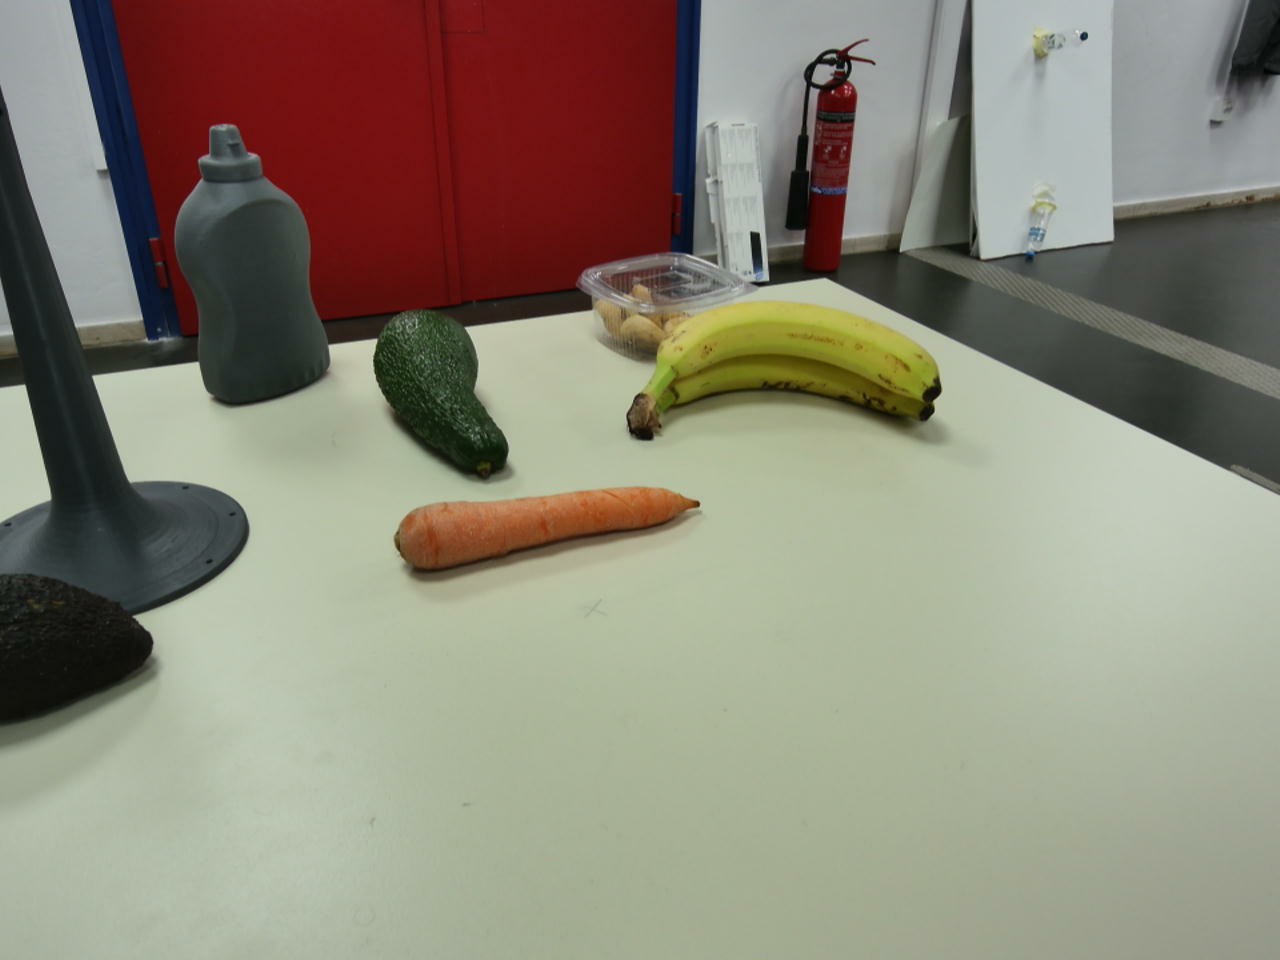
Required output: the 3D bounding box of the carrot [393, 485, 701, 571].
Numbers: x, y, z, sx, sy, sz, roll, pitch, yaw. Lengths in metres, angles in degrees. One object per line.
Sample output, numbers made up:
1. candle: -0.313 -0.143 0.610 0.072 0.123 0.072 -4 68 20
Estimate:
1. carrot: -0.052 0.020 0.613 0.196 0.041 0.039 -11 29 -22
